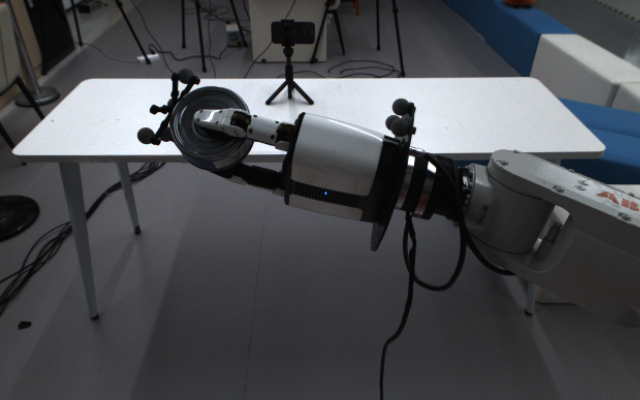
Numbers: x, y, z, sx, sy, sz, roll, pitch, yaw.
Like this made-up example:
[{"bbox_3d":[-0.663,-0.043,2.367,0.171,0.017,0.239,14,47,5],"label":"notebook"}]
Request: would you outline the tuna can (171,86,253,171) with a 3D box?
[{"bbox_3d":[-0.109,-0.072,0.513,0.085,0.034,0.085,1,75,-2],"label":"tuna can"}]
